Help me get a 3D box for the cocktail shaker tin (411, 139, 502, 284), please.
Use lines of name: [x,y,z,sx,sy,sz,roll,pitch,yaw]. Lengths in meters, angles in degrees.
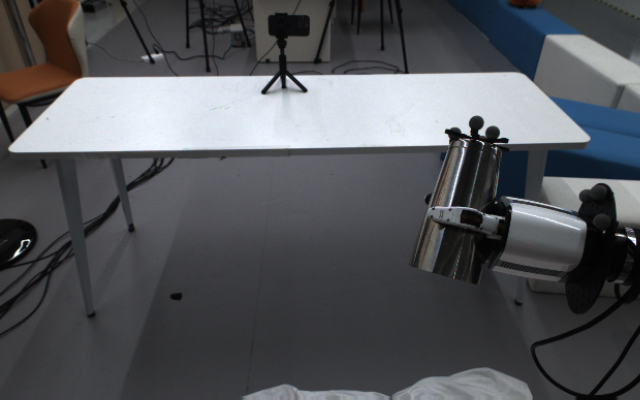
cocktail shaker tin: [0.179,0.013,0.617,0.093,0.170,0.093,16,-4,1]
